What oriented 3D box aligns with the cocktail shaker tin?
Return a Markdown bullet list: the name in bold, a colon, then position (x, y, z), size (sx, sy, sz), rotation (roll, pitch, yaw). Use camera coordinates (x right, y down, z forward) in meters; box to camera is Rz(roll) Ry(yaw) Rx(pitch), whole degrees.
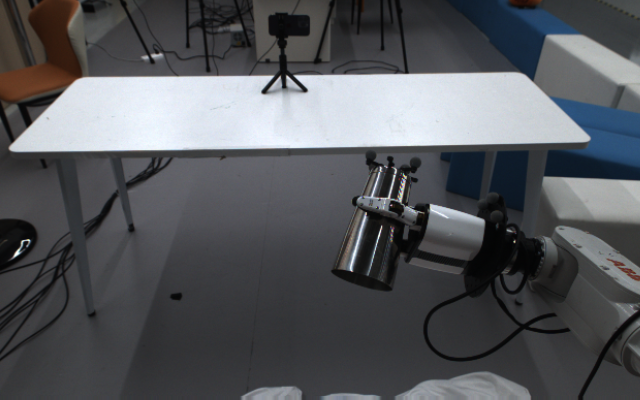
- **cocktail shaker tin**: position (0.082, 0.038, 0.716), size (0.093, 0.093, 0.170), rotation (13, 70, 15)
